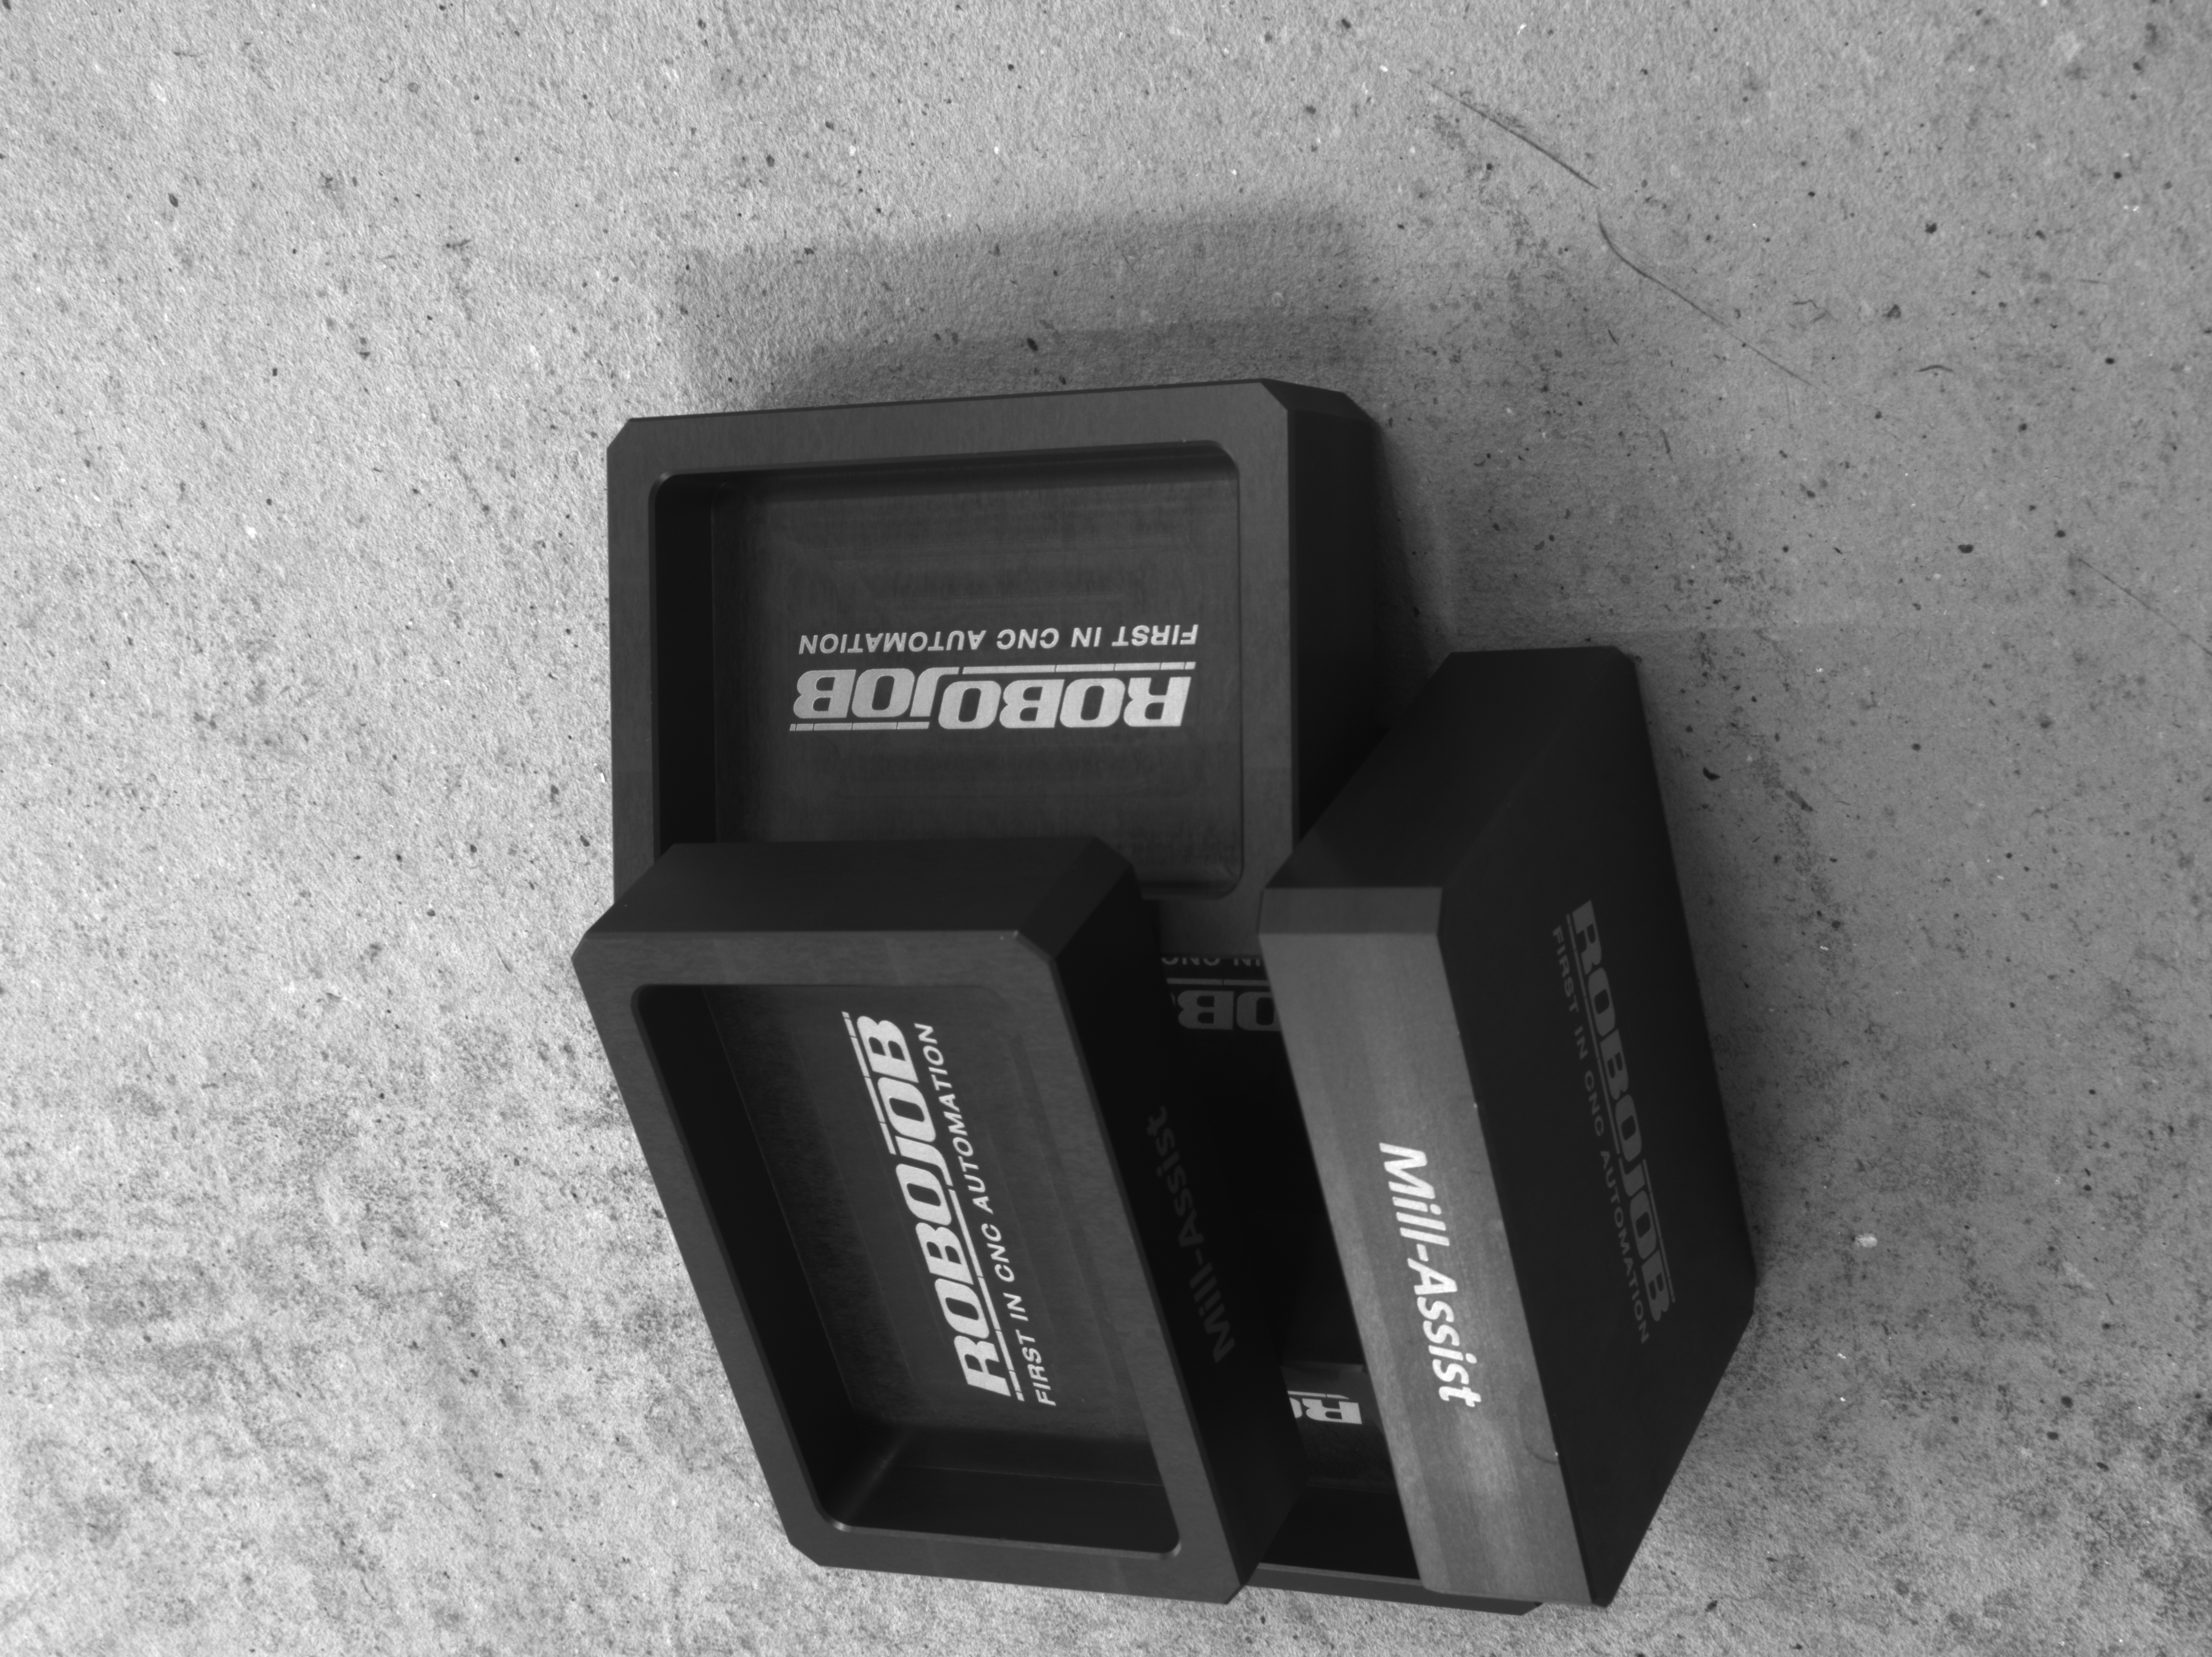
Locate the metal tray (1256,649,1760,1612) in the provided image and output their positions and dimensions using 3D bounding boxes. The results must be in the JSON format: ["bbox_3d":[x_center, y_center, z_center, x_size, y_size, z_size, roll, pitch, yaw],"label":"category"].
[{"bbox_3d":[0.068,0.048,0.592,0.030,0.090,0.130,-1,118,29],"label":"metal tray"}]

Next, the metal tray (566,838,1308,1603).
[{"bbox_3d":[-0.026,0.065,0.609,0.090,0.030,0.130,-1,120,29],"label":"metal tray"}]

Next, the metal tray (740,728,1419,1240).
[{"bbox_3d":[0.007,0.030,0.652,0.130,0.030,0.090,-1,119,29],"label":"metal tray"}]

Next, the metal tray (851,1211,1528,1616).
[{"bbox_3d":[0.011,0.105,0.675,0.130,0.030,0.090,0,143,28],"label":"metal tray"}]

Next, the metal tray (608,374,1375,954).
[{"bbox_3d":[-0.021,-0.025,0.612,0.130,0.030,0.090,0,91,28],"label":"metal tray"}]
